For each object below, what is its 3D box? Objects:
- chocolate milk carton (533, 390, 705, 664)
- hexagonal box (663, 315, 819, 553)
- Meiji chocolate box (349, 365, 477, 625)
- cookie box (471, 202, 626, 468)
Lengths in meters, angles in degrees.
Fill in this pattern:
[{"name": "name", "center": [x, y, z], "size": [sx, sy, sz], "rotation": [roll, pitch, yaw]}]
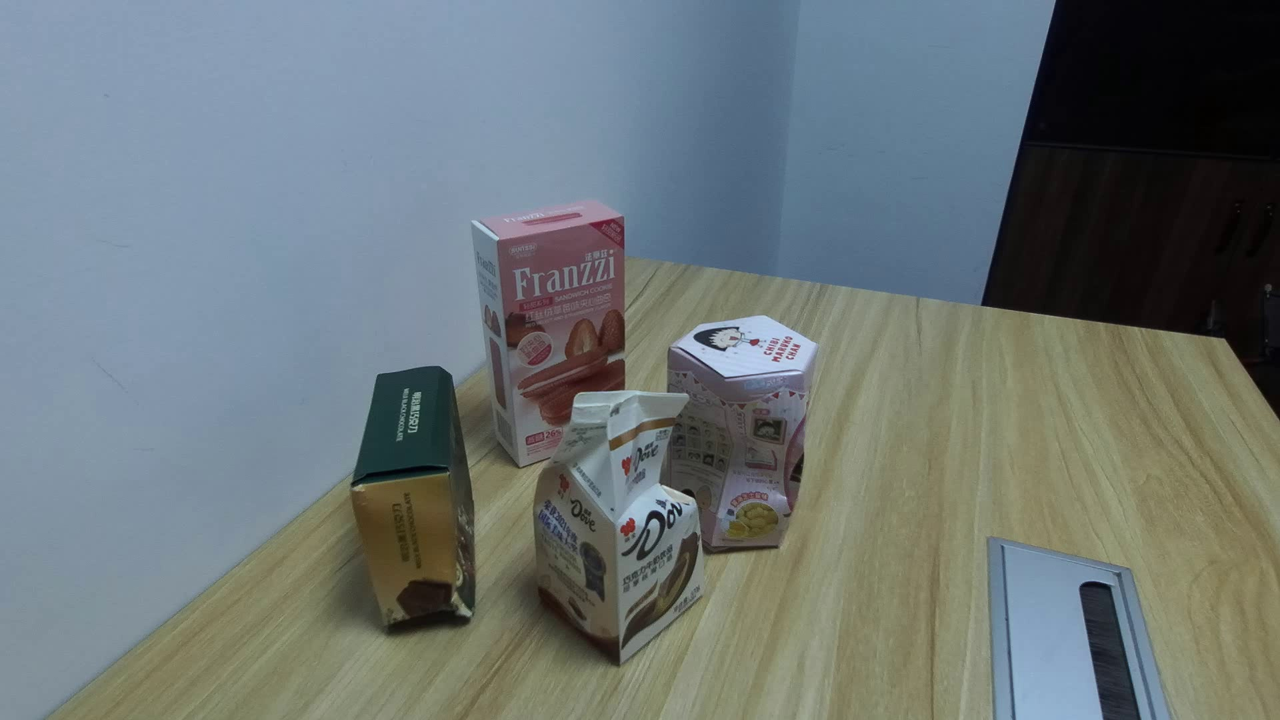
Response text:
[{"name": "chocolate milk carton", "center": [-0.010, 0.076, 0.387], "size": [0.073, 0.156, 0.076], "rotation": [27, 38, 37]}, {"name": "hexagonal box", "center": [0.064, 0.050, 0.454], "size": [0.093, 0.135, 0.088], "rotation": [-6, 29, -12]}, {"name": "Meiji chocolate box", "center": [-0.134, 0.080, 0.427], "size": [0.058, 0.116, 0.122], "rotation": [-6, 28, -12]}, {"name": "cookie box", "center": [-0.062, -0.018, 0.529], "size": [0.096, 0.185, 0.048], "rotation": [-16, 34, -26]}]
